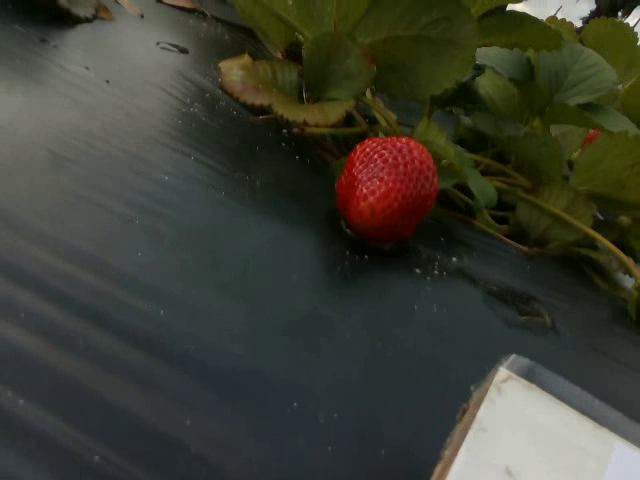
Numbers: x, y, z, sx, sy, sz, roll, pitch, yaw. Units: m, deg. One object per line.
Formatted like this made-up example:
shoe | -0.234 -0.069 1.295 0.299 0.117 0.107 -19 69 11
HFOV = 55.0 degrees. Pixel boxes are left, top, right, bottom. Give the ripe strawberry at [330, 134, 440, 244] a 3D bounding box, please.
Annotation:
ripe strawberry | 0.022 -0.016 0.189 0.036 0.040 0.046 10 13 17
